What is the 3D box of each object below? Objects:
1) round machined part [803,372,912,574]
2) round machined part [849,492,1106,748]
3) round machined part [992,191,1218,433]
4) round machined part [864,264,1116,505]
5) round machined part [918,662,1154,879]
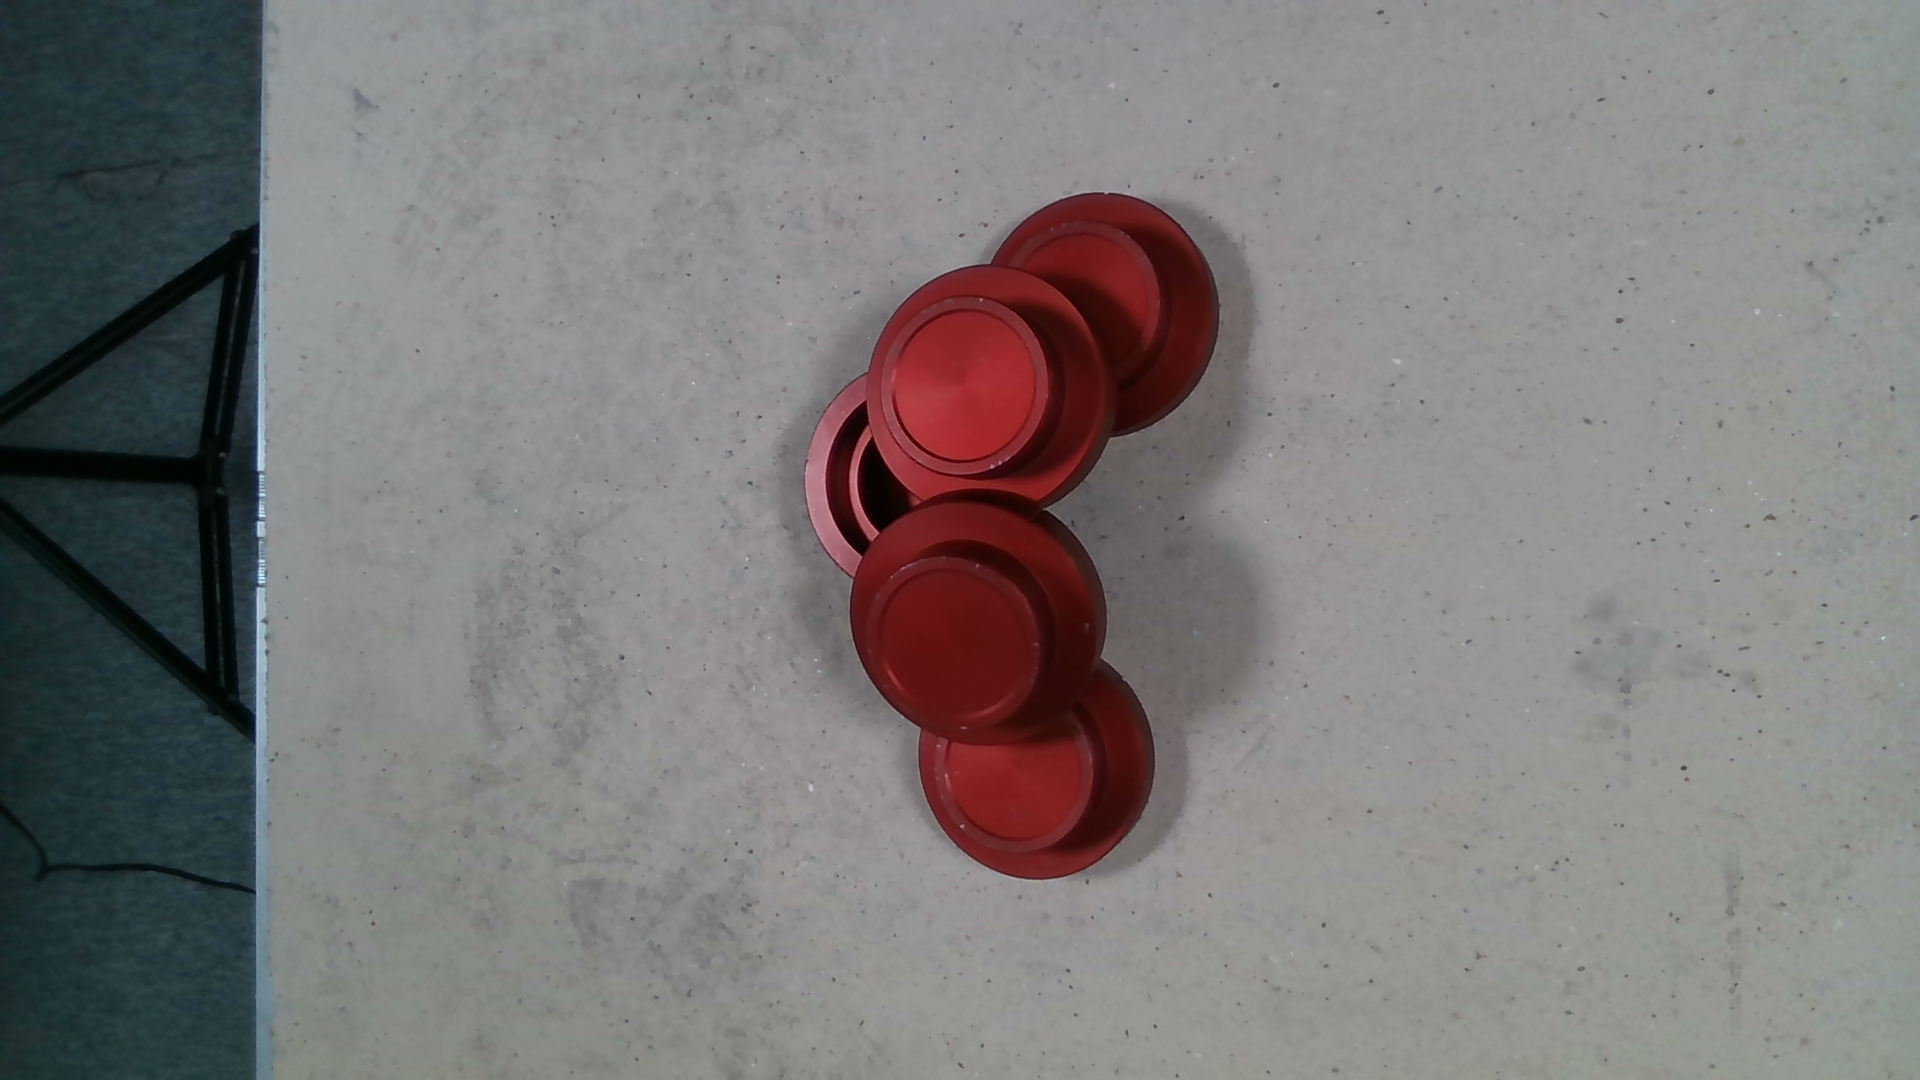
[{"bbox_3d":[-0.013,-0.026,0.581,0.098,0.042,0.098,0,91,20],"label":"round machined part"},{"bbox_3d":[0.003,0.033,0.520,0.098,0.042,0.098,5,105,18],"label":"round machined part"},{"bbox_3d":[0.052,-0.092,0.556,0.098,0.042,0.098,0,91,20],"label":"round machined part"},{"bbox_3d":[0.007,-0.057,0.528,0.098,0.042,0.098,0,91,20],"label":"round machined part"},{"bbox_3d":[0.028,0.091,0.567,0.098,0.042,0.098,0,91,20],"label":"round machined part"}]
